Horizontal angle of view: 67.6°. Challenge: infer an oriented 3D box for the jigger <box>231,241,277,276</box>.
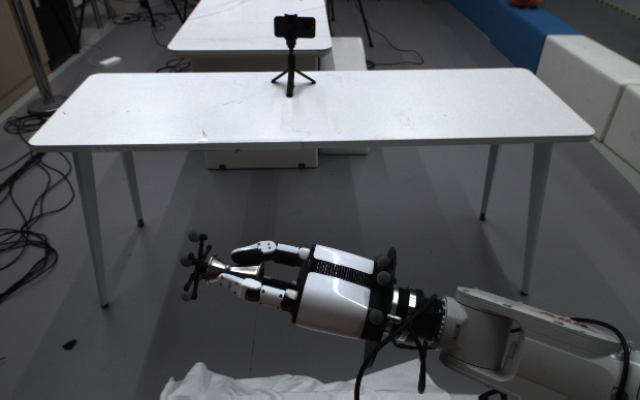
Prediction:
[{"bbox_3d":[-0.104,0.094,0.640,0.071,0.043,0.043,9,35,3],"label":"jigger"}]
